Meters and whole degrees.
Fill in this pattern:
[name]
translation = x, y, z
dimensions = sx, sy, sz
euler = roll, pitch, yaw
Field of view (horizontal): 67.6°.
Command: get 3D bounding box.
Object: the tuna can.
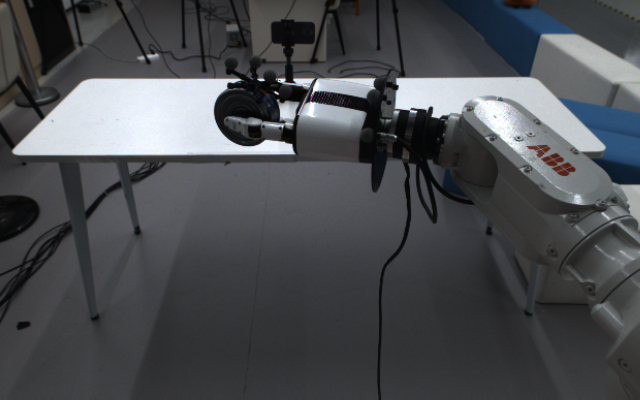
[tuna can]
translation = -0.098, -0.111, 0.660
dimensions = 0.085, 0.085, 0.034
euler = 12, 35, 14
